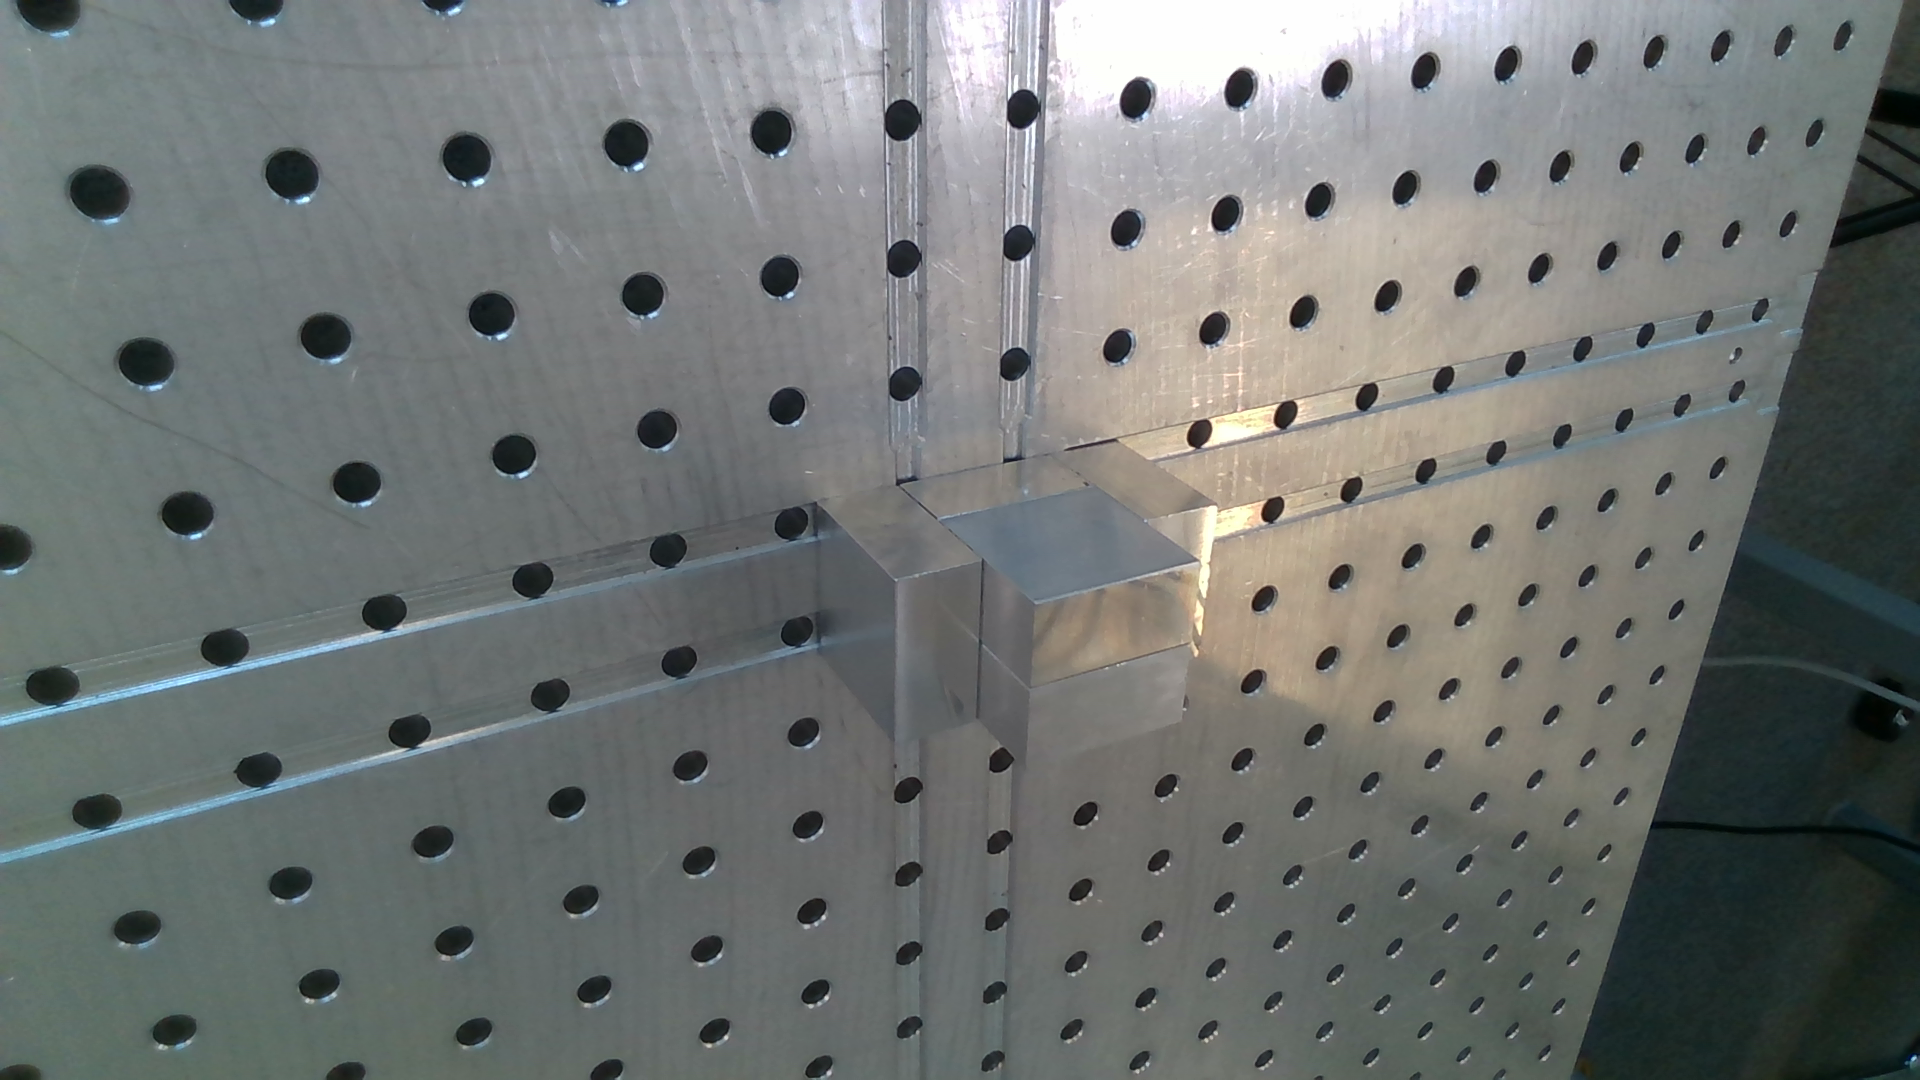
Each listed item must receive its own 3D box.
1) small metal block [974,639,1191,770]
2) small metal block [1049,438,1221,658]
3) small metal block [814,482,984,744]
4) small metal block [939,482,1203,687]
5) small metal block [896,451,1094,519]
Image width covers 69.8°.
[{"bbox_3d":[0.027,0.033,0.378,0.050,0.050,0.025,-13,119,-26],"label":"small metal block"},{"bbox_3d":[0.049,0.004,0.407,0.025,0.050,0.050,-13,121,-26],"label":"small metal block"},{"bbox_3d":[-0.017,0.019,0.375,0.025,0.050,0.050,-13,121,-26],"label":"small metal block"},{"bbox_3d":[0.028,0.010,0.366,0.050,0.050,0.025,-13,121,-26],"label":"small metal block"},{"bbox_3d":[0.010,0.005,0.400,0.050,0.025,0.050,-13,119,-26],"label":"small metal block"}]
